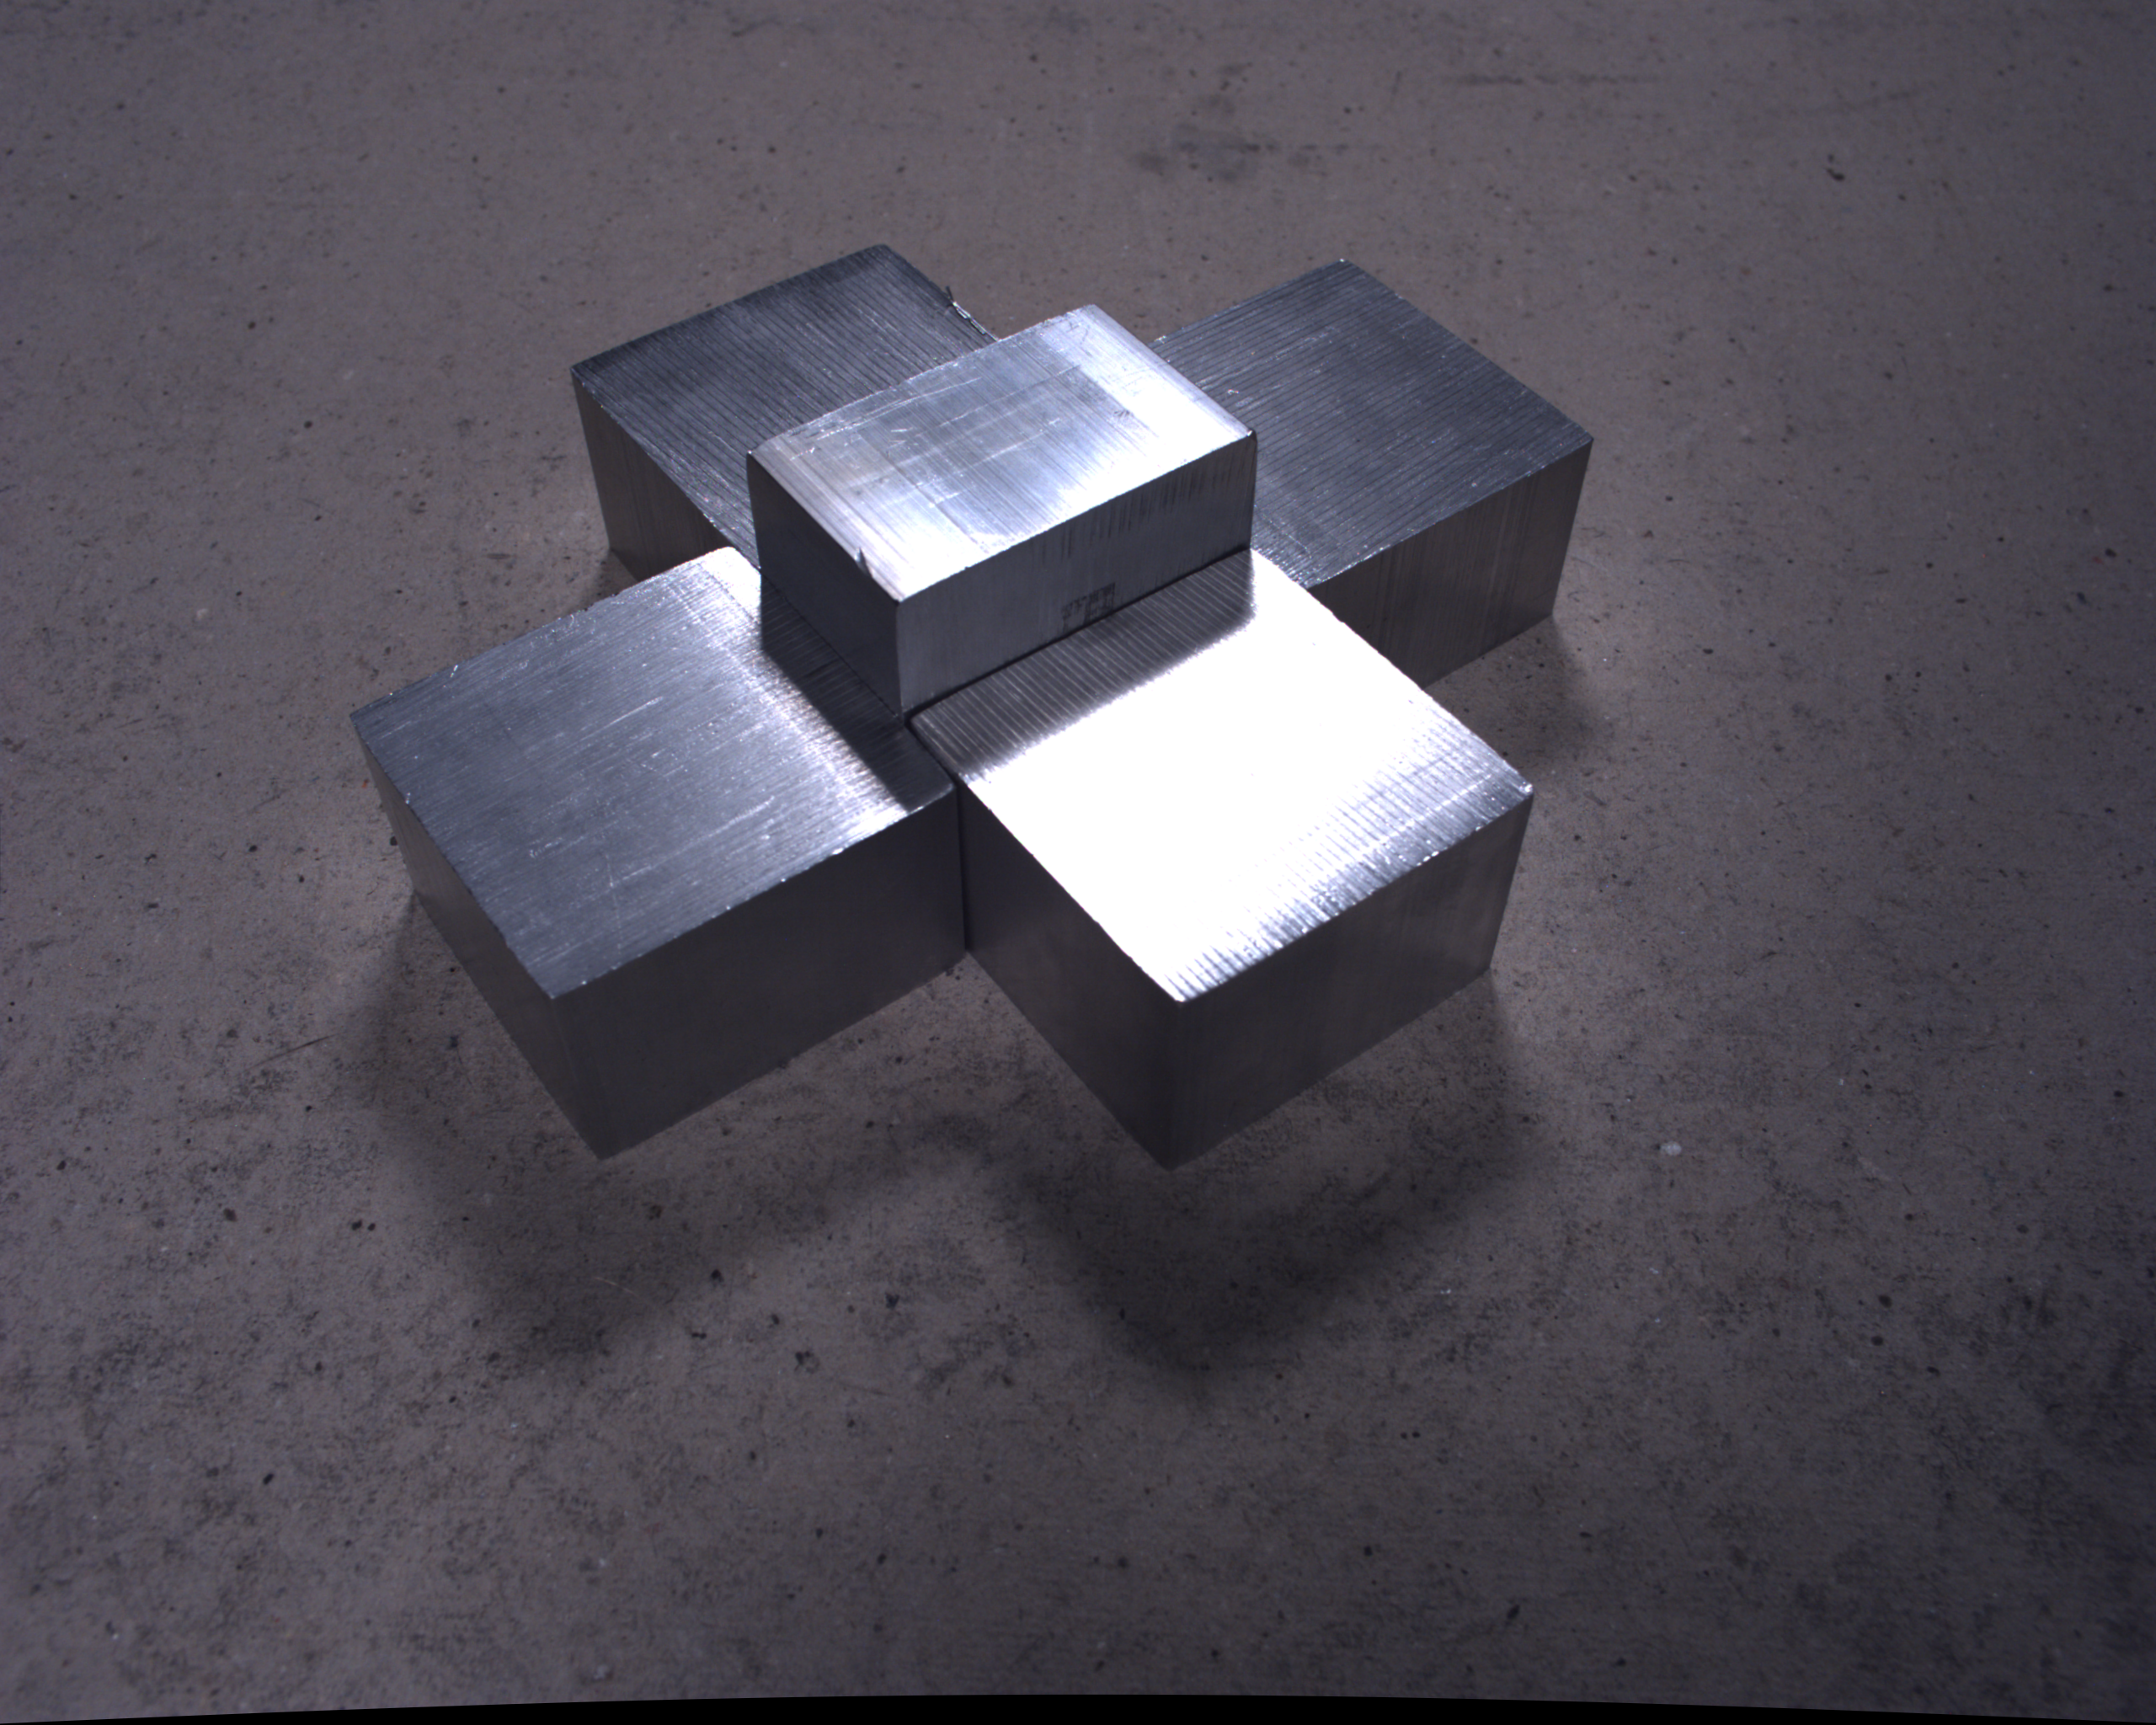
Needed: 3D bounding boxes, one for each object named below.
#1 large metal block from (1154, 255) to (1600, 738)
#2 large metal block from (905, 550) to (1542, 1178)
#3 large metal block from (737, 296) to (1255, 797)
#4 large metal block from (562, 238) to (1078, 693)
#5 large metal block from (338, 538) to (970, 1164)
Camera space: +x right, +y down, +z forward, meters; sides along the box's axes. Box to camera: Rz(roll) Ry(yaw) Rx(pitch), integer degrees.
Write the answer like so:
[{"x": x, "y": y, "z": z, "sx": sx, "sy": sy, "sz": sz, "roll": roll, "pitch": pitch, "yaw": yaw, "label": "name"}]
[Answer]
[{"x": 0.051, "y": -0.079, "z": 0.454, "sx": 0.081, "sy": 0.050, "sz": 0.080, "roll": -30, "pitch": 56, "yaw": -23, "label": "large metal block"}, {"x": 0.025, "y": -0.002, "z": 0.390, "sx": 0.081, "sy": 0.050, "sz": 0.080, "roll": -30, "pitch": 56, "yaw": -23, "label": "large metal block"}, {"x": -0.015, "y": -0.053, "z": 0.413, "sx": 0.081, "sy": 0.080, "sz": 0.050, "roll": -30, "pitch": 56, "yaw": -23, "label": "large metal block"}, {"x": -0.053, "y": -0.083, "z": 0.457, "sx": 0.081, "sy": 0.050, "sz": 0.080, "roll": -30, "pitch": 56, "yaw": -23, "label": "large metal block"}, {"x": -0.077, "y": -0.005, "z": 0.390, "sx": 0.081, "sy": 0.050, "sz": 0.080, "roll": -30, "pitch": 56, "yaw": -23, "label": "large metal block"}]
